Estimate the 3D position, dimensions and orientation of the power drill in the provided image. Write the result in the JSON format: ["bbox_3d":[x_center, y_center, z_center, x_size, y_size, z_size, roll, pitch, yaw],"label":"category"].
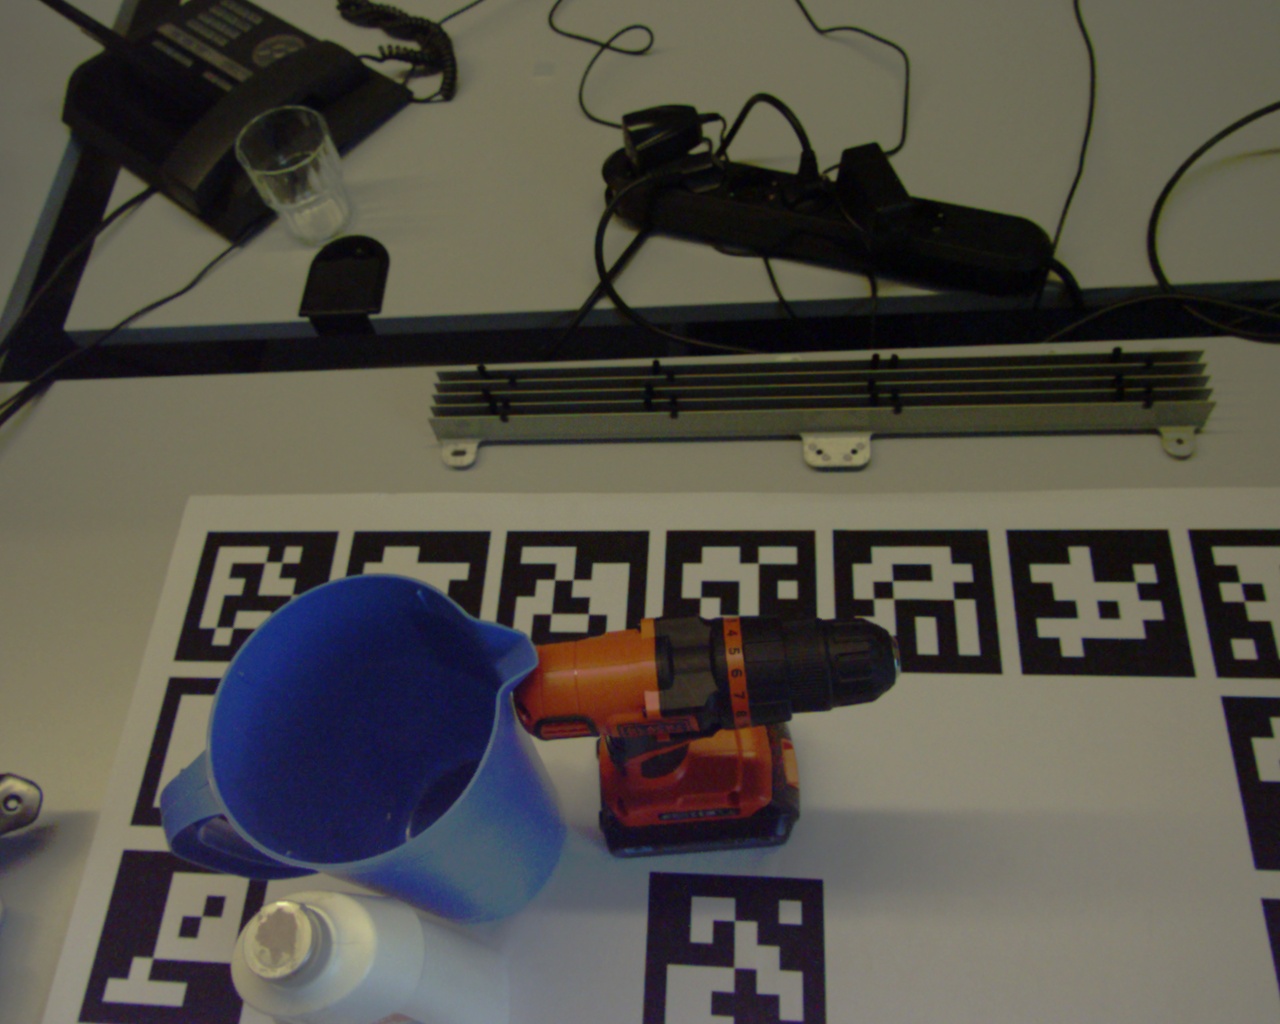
[{"bbox_3d":[0.041,0.123,0.614,0.184,0.186,0.057,-4,65,0],"label":"power drill"}]

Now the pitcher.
[{"bbox_3d":[-0.127,0.140,0.622,0.188,0.241,0.134,-26,64,-5],"label":"pitcher"}]

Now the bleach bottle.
[{"bbox_3d":[-0.143,0.222,0.559,0.103,0.249,0.068,-9,62,4],"label":"bleach bottle"}]
